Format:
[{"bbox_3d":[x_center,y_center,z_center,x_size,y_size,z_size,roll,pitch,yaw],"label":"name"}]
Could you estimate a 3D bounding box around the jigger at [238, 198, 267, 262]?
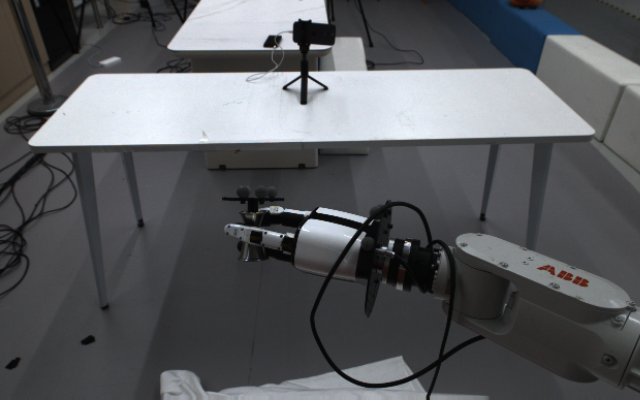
[{"bbox_3d":[-0.094,0.049,0.687,0.043,0.071,0.043,0,2,0],"label":"jigger"}]
